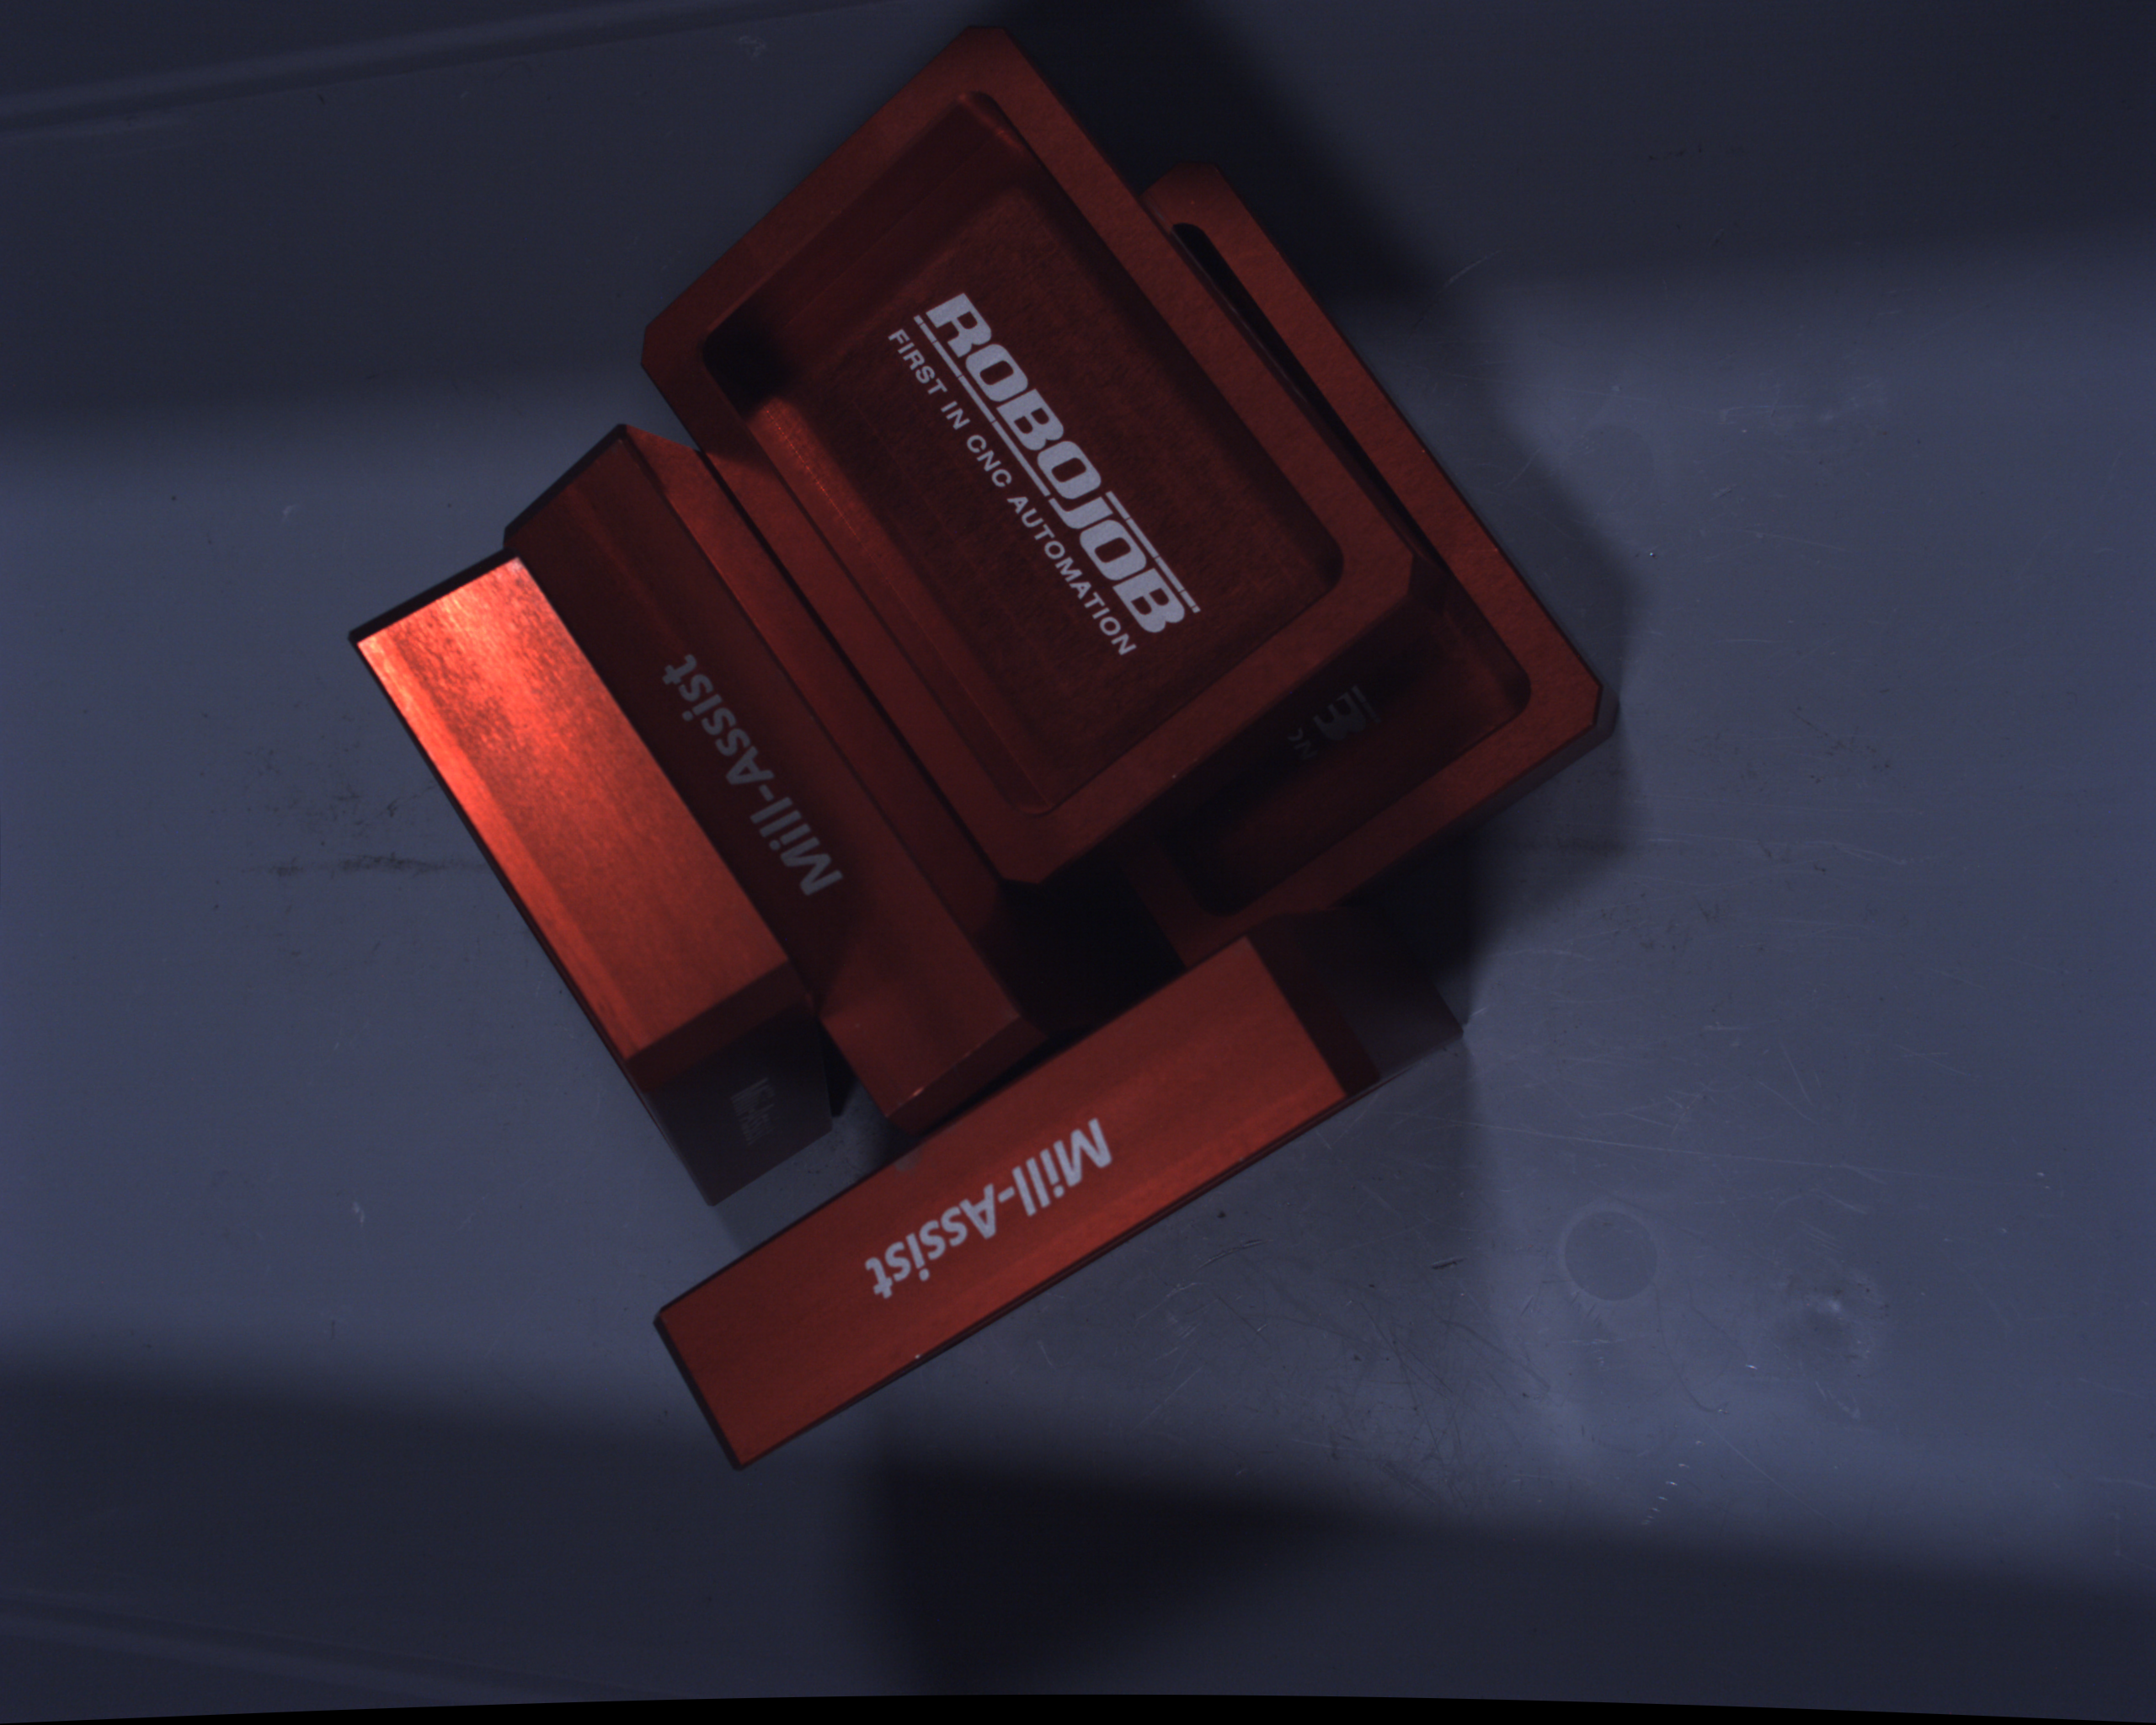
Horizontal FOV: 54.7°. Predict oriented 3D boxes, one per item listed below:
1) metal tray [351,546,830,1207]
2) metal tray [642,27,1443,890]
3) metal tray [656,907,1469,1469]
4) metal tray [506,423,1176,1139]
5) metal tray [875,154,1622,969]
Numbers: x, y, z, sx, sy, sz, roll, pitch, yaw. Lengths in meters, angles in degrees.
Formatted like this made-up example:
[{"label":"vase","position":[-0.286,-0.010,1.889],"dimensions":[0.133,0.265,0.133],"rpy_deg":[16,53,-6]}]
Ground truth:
[{"label":"metal tray","position":[-0.083,0.010,0.383],"dimensions":[0.030,0.130,0.090],"rpy_deg":[-33,78,-14]},{"label":"metal tray","position":[-0.008,-0.071,0.376],"dimensions":[0.090,0.030,0.130],"rpy_deg":[-38,78,16]},{"label":"metal tray","position":[0.001,0.055,0.373],"dimensions":[0.130,0.090,0.030],"rpy_deg":[-34,79,16]},{"label":"metal tray","position":[-0.039,-0.015,0.386],"dimensions":[0.030,0.090,0.130],"rpy_deg":[-39,78,16]},{"label":"metal tray","position":[0.029,-0.055,0.397],"dimensions":[0.090,0.030,0.130],"rpy_deg":[-36,78,17]}]
